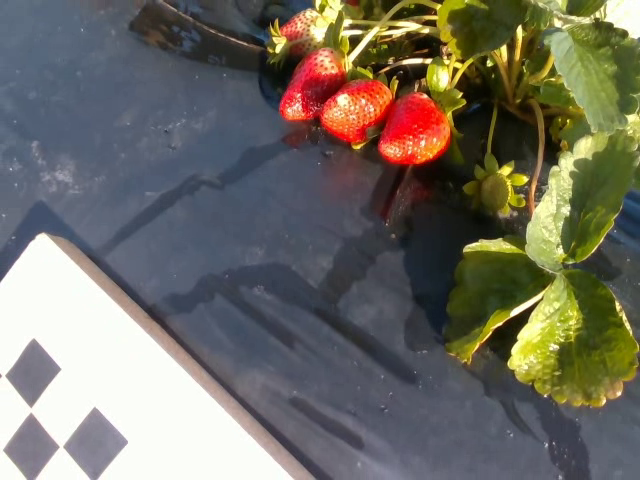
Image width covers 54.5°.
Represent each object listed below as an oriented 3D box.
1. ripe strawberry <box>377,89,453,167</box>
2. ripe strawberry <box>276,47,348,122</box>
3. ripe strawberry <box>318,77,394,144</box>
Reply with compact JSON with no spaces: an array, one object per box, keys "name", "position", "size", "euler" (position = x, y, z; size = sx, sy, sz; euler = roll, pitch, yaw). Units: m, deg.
[{"name":"ripe strawberry","position":[0.037,-0.046,0.277],"size":[0.035,0.034,0.041],"euler":[32,38,23]},{"name":"ripe strawberry","position":[-0.005,-0.076,0.302],"size":[0.031,0.046,0.023],"euler":[37,-15,23]},{"name":"ripe strawberry","position":[0.015,-0.063,0.285],"size":[0.031,0.037,0.039],"euler":[48,30,23]}]
